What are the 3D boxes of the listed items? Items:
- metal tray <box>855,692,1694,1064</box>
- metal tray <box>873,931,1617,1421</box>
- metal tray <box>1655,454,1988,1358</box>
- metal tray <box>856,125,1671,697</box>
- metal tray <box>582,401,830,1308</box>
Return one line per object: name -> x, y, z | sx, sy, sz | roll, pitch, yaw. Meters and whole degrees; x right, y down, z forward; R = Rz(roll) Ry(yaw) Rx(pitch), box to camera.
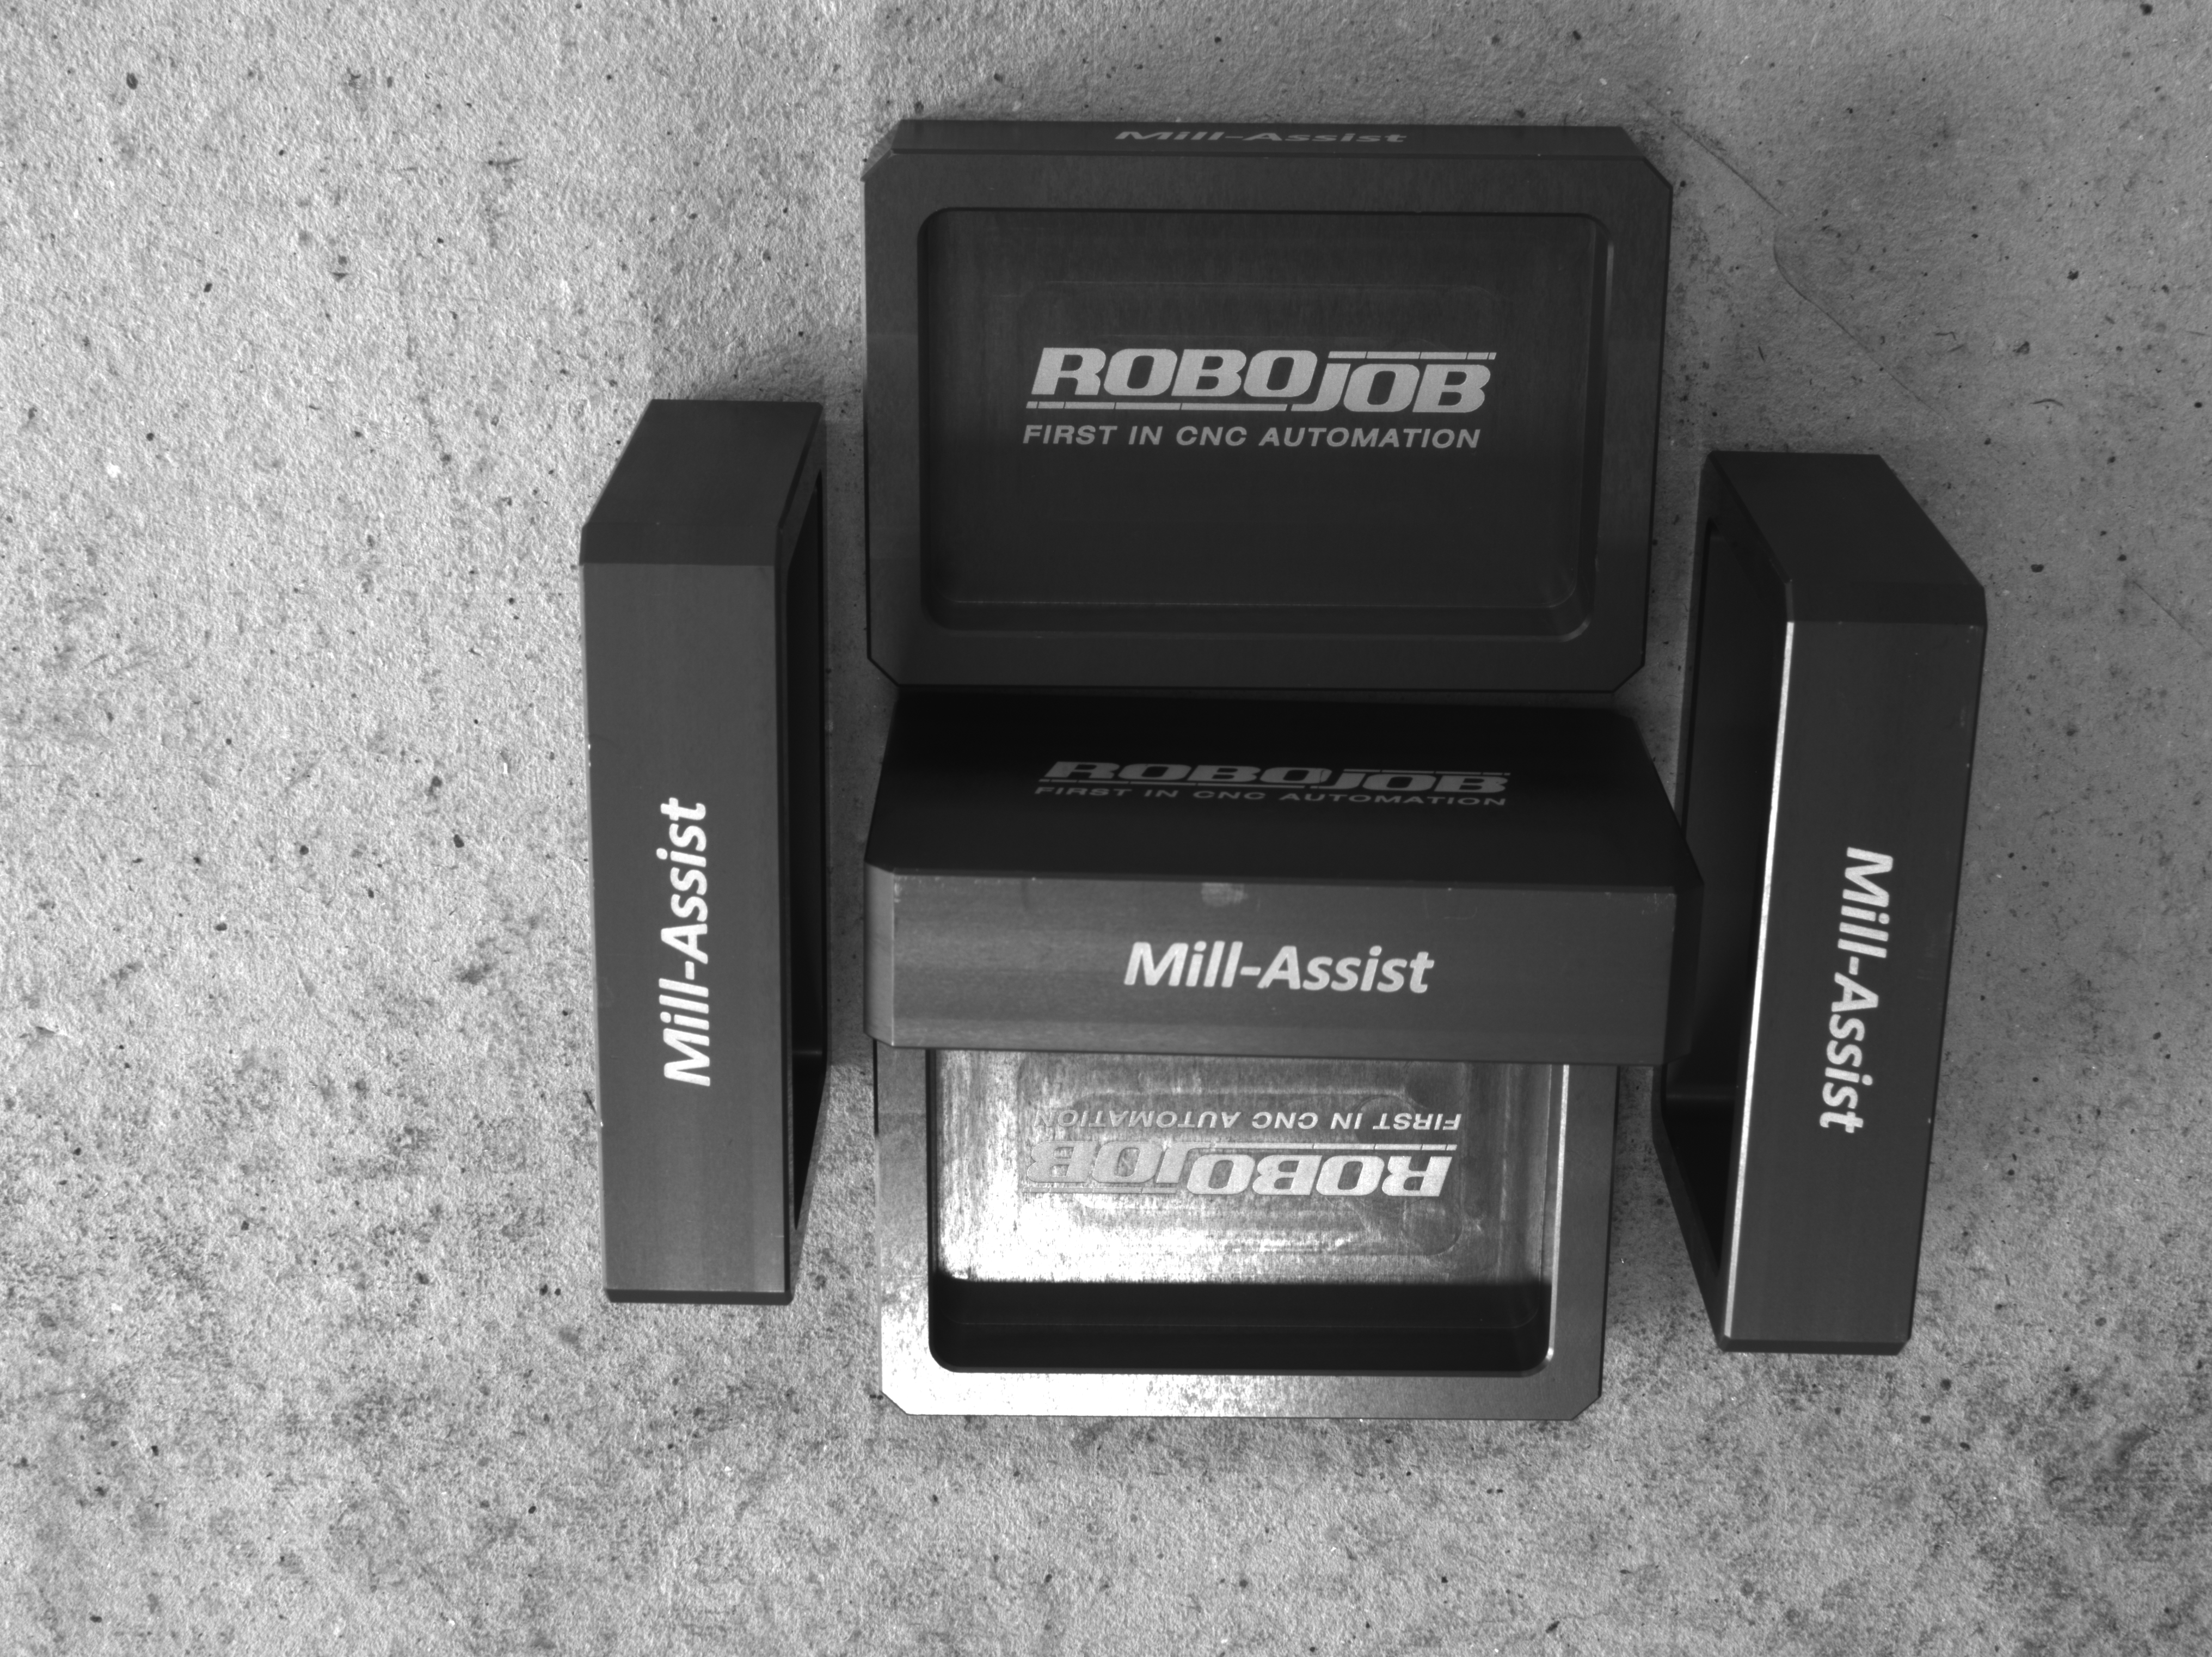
metal tray -> 0.026, 0.006, 0.613 | 0.130, 0.090, 0.030 | 1, 111, 0
metal tray -> 0.024, 0.059, 0.664 | 0.130, 0.030, 0.090 | 1, 109, 0
metal tray -> 0.116, 0.011, 0.613 | 0.030, 0.090, 0.130 | 1, 110, 0
metal tray -> 0.025, -0.069, 0.616 | 0.130, 0.030, 0.090 | 0, 113, 0
metal tray -> -0.064, 0.003, 0.610 | 0.030, 0.090, 0.130 | 1, 110, -1
